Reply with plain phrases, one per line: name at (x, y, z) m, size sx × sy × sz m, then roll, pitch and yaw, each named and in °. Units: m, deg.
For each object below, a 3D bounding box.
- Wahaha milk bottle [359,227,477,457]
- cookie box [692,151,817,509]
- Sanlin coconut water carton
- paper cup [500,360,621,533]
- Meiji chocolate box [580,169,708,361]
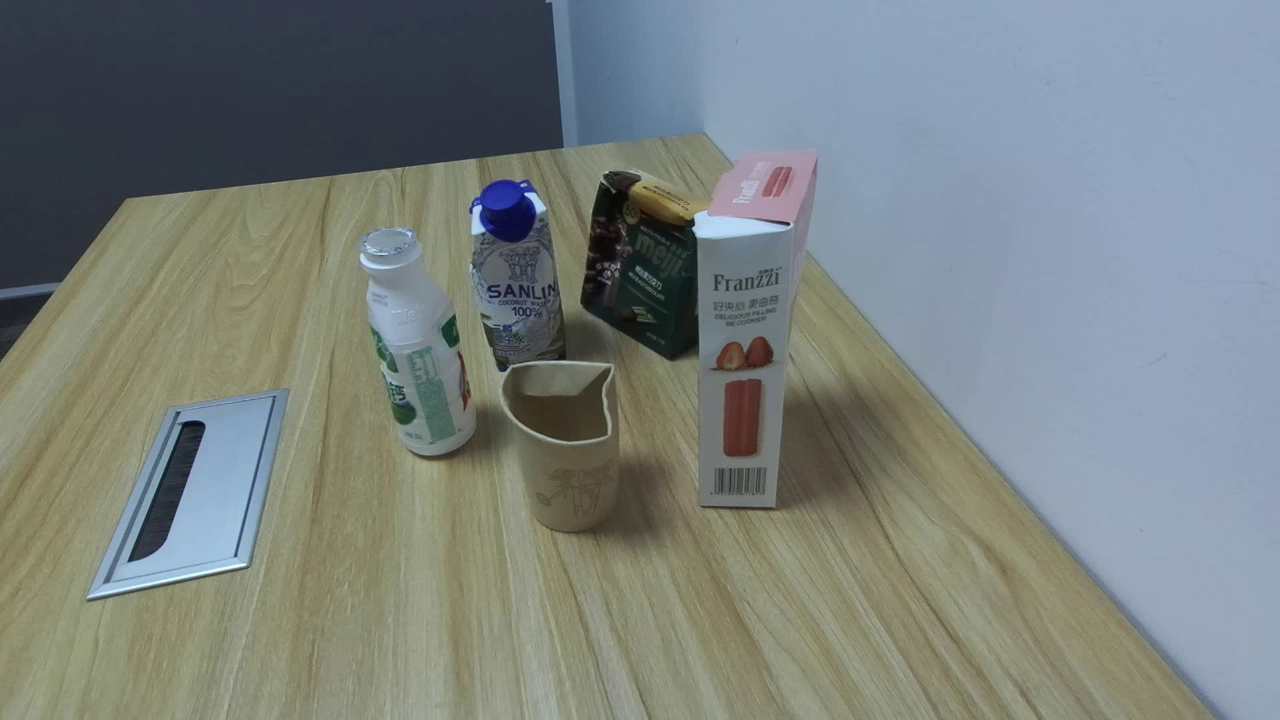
Wahaha milk bottle at (-0.135, -0.008, 0.433) m, size 0.055 × 0.149 × 0.055 m, roll 1°, pitch 38°, yaw 0°
cookie box at (0.061, -0.013, 0.401) m, size 0.055 × 0.184 × 0.118 m, roll 6°, pitch 38°, yaw 11°
Sanlin coconut water carton at (-0.091, -0.064, 0.506) m, size 0.061 × 0.144 × 0.069 m, roll -11°, pitch 39°, yaw -9°
paper cup at (-0.044, 0.052, 0.404) m, size 0.066 × 0.084 × 0.071 m, roll 2°, pitch 38°, yaw 1°
Meiji chocolate box at (0.011, -0.076, 0.554) m, size 0.112 × 0.110 × 0.058 m, roll 32°, pitch 39°, yaw 32°
